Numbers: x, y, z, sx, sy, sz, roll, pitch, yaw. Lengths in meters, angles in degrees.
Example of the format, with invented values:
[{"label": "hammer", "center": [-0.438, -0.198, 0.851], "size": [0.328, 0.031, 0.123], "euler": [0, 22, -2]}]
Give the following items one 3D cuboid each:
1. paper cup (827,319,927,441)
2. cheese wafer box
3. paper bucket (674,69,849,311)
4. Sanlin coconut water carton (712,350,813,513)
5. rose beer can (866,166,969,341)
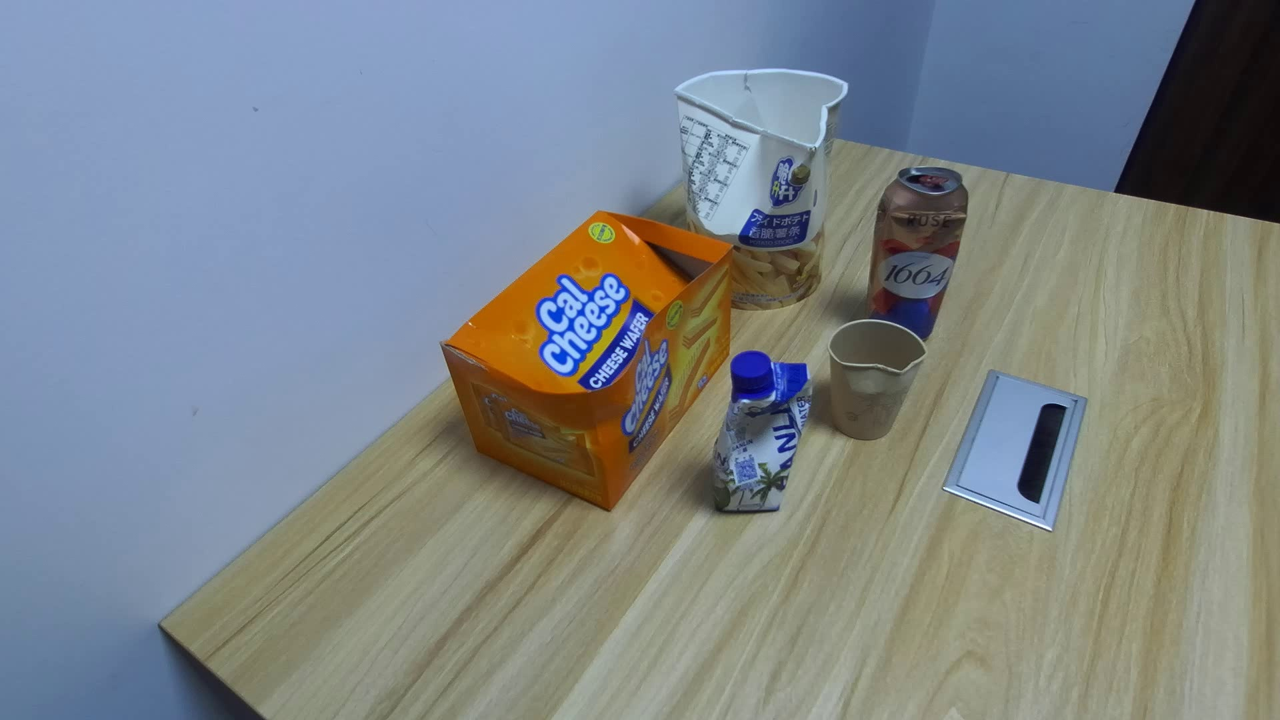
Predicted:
[{"label": "paper cup", "center": [0.192, 0.020, 0.595], "size": [0.074, 0.081, 0.068], "euler": [-31, 48, -29]}, {"label": "cheese wafer box", "center": [-0.031, -0.007, 0.613], "size": [0.151, 0.132, 0.231], "euler": [20, 47, 24]}, {"label": "paper bucket", "center": [0.114, -0.174, 0.734], "size": [0.162, 0.202, 0.169], "euler": [11, 42, 19]}, {"label": "Sanlin coconut water carton", "center": [0.091, 0.056, 0.519], "size": [0.068, 0.145, 0.056], "euler": [3, 49, -3]}, {"label": "rose beer can", "center": [0.256, -0.096, 0.660], "size": [0.075, 0.167, 0.065], "euler": [9, 42, 21]}]
